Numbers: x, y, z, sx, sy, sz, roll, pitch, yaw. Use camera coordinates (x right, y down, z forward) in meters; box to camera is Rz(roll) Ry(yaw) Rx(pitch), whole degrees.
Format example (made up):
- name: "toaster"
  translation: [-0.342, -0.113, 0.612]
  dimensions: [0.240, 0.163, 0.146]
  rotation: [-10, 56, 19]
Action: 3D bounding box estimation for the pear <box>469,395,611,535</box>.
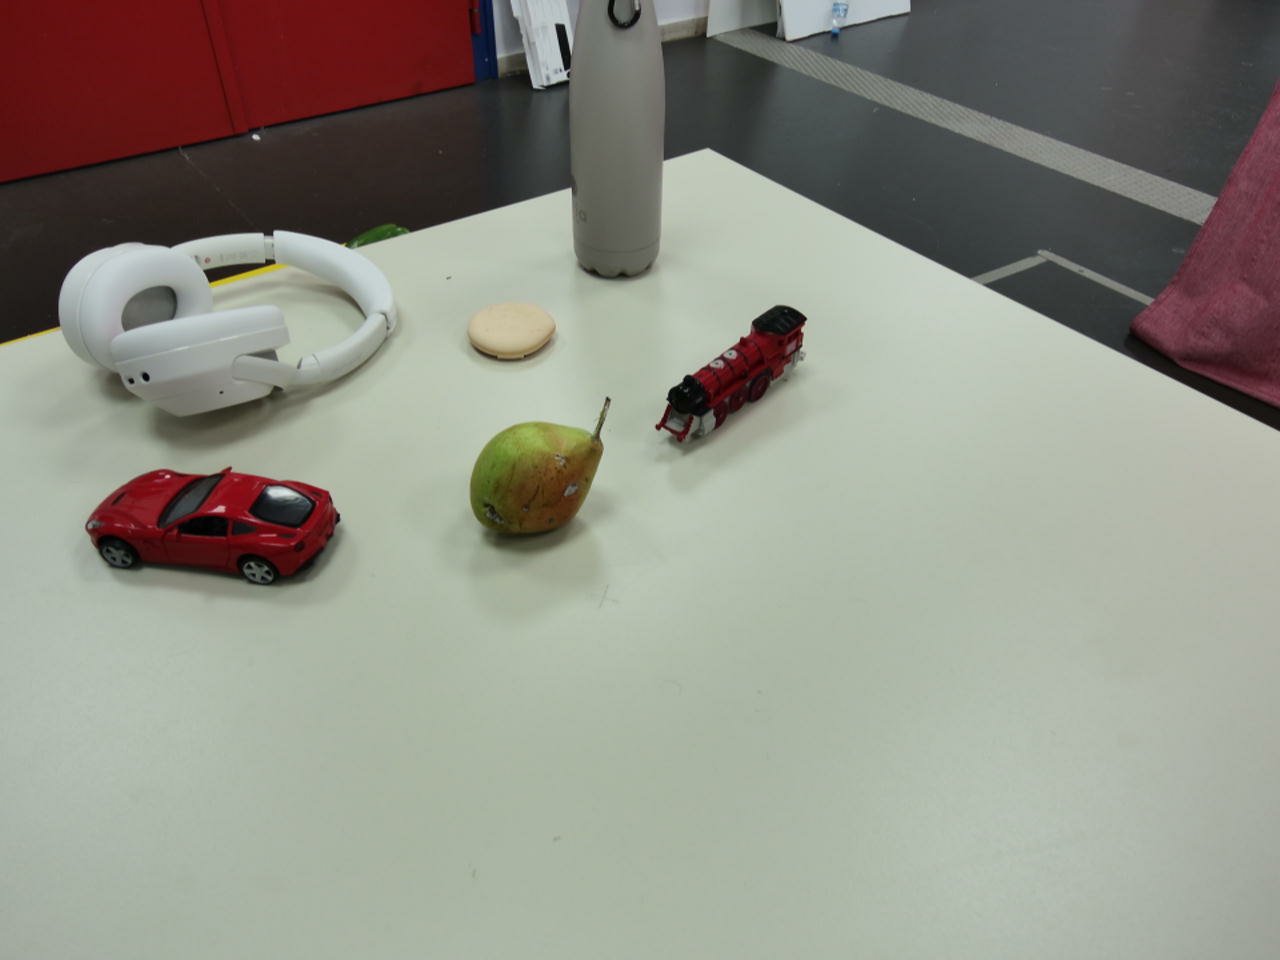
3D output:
- name: "pear"
  translation: [-0.058, -0.004, 0.558]
  dimensions: [0.070, 0.069, 0.068]
  rotation: [9, 39, 11]
